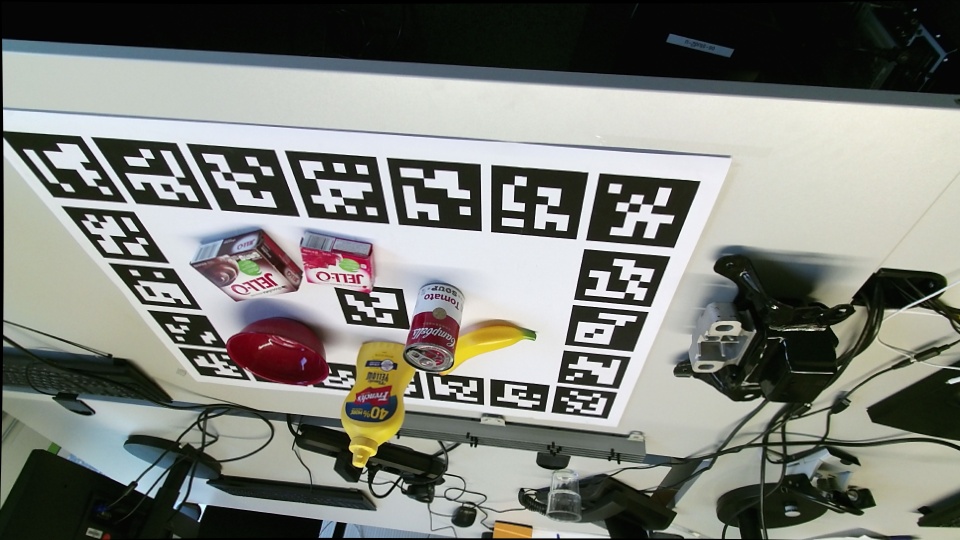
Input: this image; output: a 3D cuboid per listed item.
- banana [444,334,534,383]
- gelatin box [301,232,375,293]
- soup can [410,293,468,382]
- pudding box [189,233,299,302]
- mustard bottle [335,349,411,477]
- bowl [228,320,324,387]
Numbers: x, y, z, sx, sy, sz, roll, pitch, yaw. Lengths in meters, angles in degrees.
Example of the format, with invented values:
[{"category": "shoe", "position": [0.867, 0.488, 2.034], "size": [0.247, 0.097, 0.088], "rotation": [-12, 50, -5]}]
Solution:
[{"category": "banana", "position": [-0.010, 0.137, 0.830], "size": [0.074, 0.038, 0.197], "rotation": [26, 138, -34]}, {"category": "gelatin box", "position": [-0.183, -0.008, 0.700], "size": [0.090, 0.030, 0.073], "rotation": [9, 136, -1]}, {"category": "soup can", "position": [-0.057, 0.090, 0.722], "size": [0.068, 0.101, 0.068], "rotation": [7, 141, 6]}, {"category": "pudding box", "position": [-0.320, 0.002, 0.729], "size": [0.114, 0.038, 0.090], "rotation": [-12, 130, 22]}, {"category": "mustard bottle", "position": [-0.167, 0.216, 0.816], "size": [0.096, 0.190, 0.058], "rotation": [5, 142, 5]}, {"category": "bowl", "position": [-0.327, 0.128, 0.869], "size": [0.162, 0.055, 0.162], "rotation": [4, 140, 4]}]
